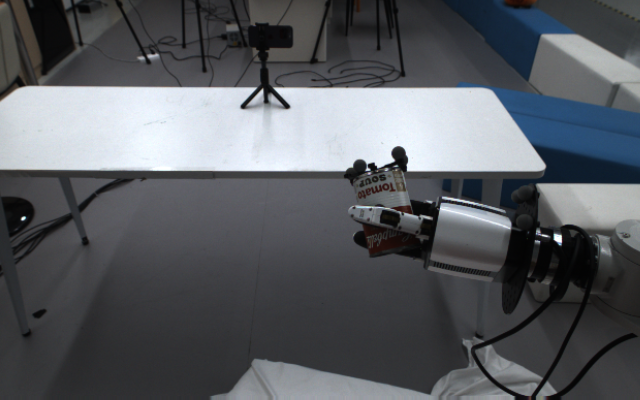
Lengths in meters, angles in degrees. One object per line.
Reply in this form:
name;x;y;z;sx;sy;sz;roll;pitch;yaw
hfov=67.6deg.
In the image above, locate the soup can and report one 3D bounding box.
soup can;0.088;0.015;0.618;0.067;0.067;0.101;-11;80;-19
